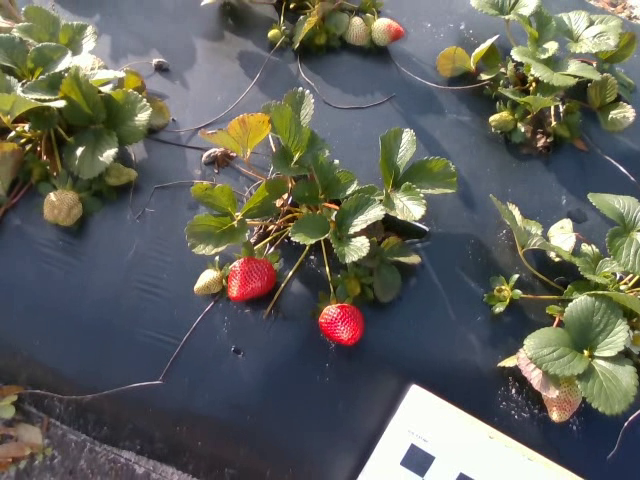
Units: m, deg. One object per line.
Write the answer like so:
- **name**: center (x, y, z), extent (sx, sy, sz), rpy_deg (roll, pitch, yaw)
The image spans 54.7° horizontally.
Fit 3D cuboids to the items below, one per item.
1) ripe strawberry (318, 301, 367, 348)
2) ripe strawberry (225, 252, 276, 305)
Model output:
- **ripe strawberry**: center (0.014, 0.058, 0.398), extent (0.033, 0.038, 0.039), rpy_deg (32, 26, -14)
- **ripe strawberry**: center (-0.048, 0.028, 0.404), extent (0.035, 0.041, 0.036), rpy_deg (15, 36, 14)
